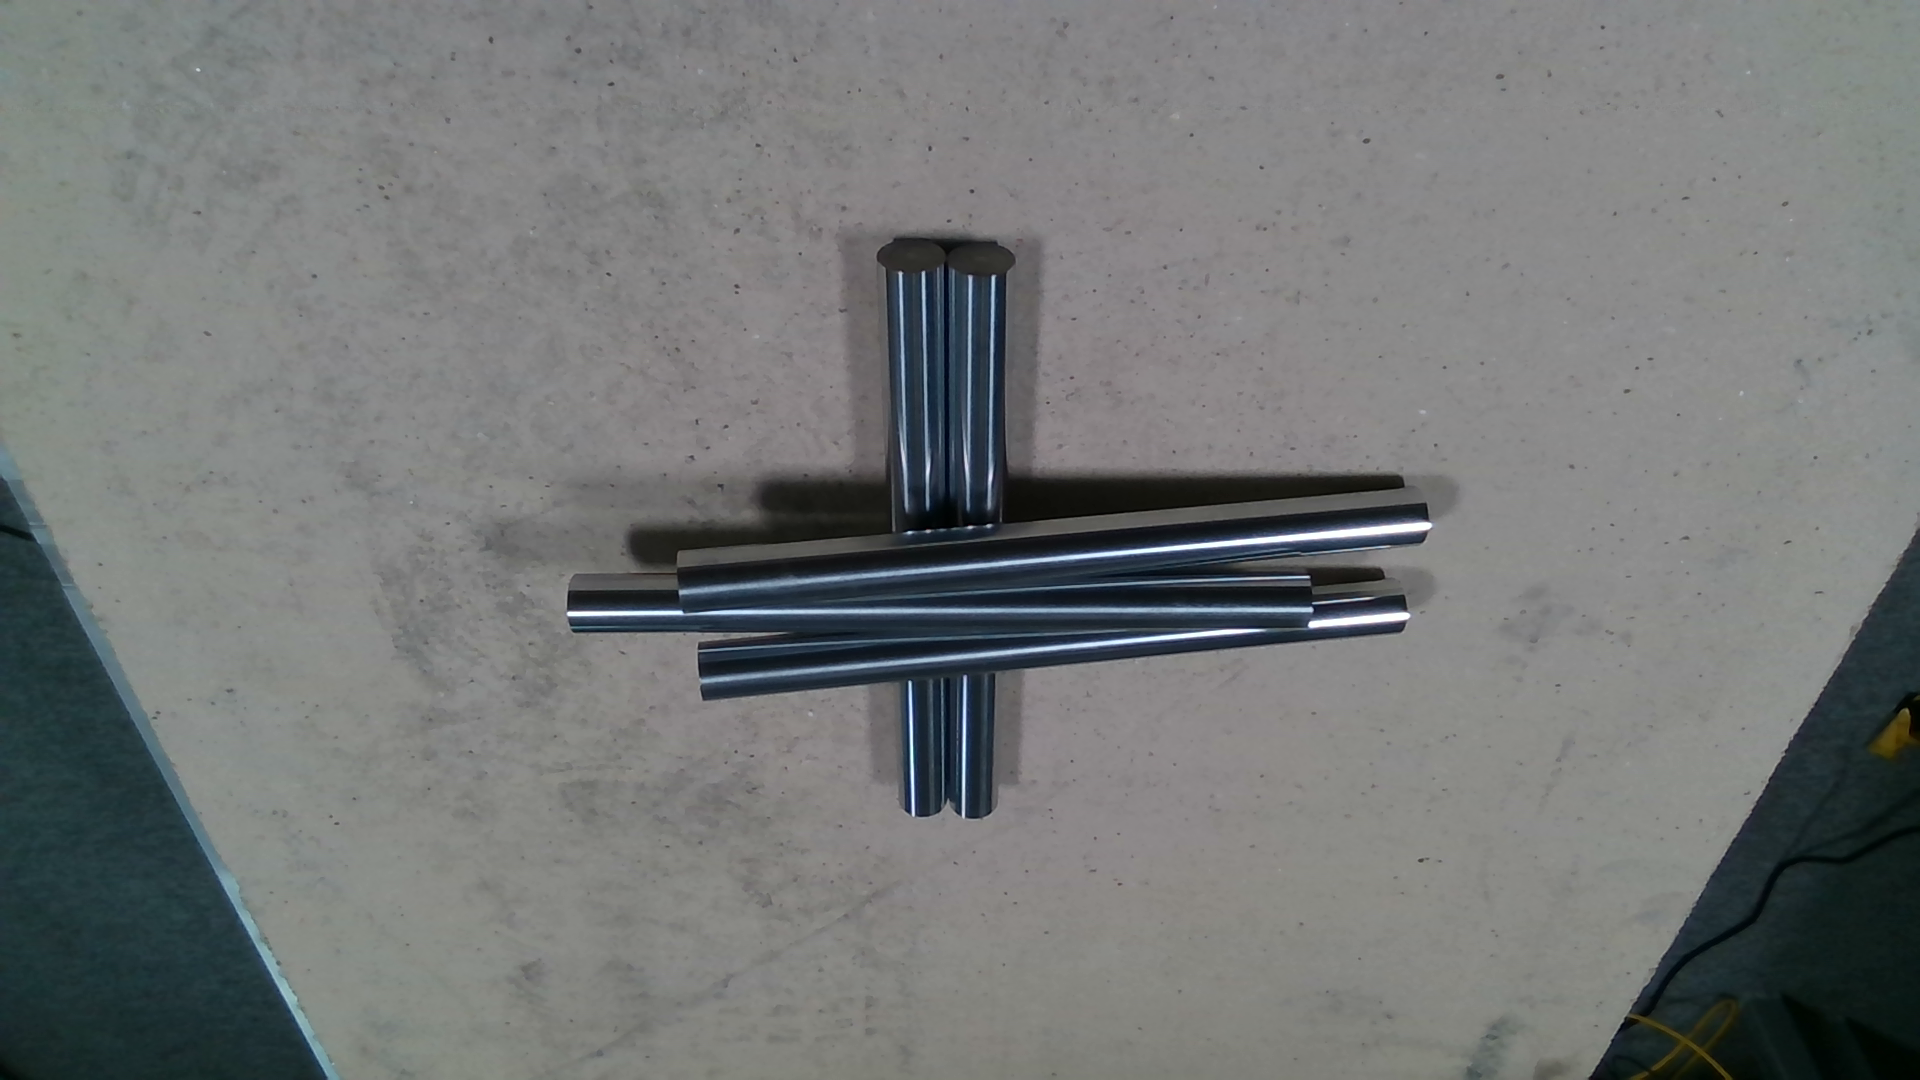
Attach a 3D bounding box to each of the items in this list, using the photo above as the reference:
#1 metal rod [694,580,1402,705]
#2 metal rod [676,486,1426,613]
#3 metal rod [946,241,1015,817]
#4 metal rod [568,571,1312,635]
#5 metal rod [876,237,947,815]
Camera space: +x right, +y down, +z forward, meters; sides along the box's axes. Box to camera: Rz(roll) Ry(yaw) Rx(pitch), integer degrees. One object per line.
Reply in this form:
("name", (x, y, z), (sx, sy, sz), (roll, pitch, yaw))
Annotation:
("metal rod", (0.040, 0.043, 0.587), (0.300, 0.025, 0.025), (-5, 130, -6))
("metal rod", (0.039, 0.003, 0.555), (0.300, 0.025, 0.025), (-5, 130, -6))
("metal rod", (0.007, 0.014, 0.592), (0.025, 0.025, 0.301), (0, 130, 0))
("metal rod", (-0.008, 0.026, 0.568), (0.300, 0.025, 0.025), (0, 130, 0))
("metal rod", (-0.018, 0.012, 0.591), (0.025, 0.025, 0.301), (0, 130, 0))
